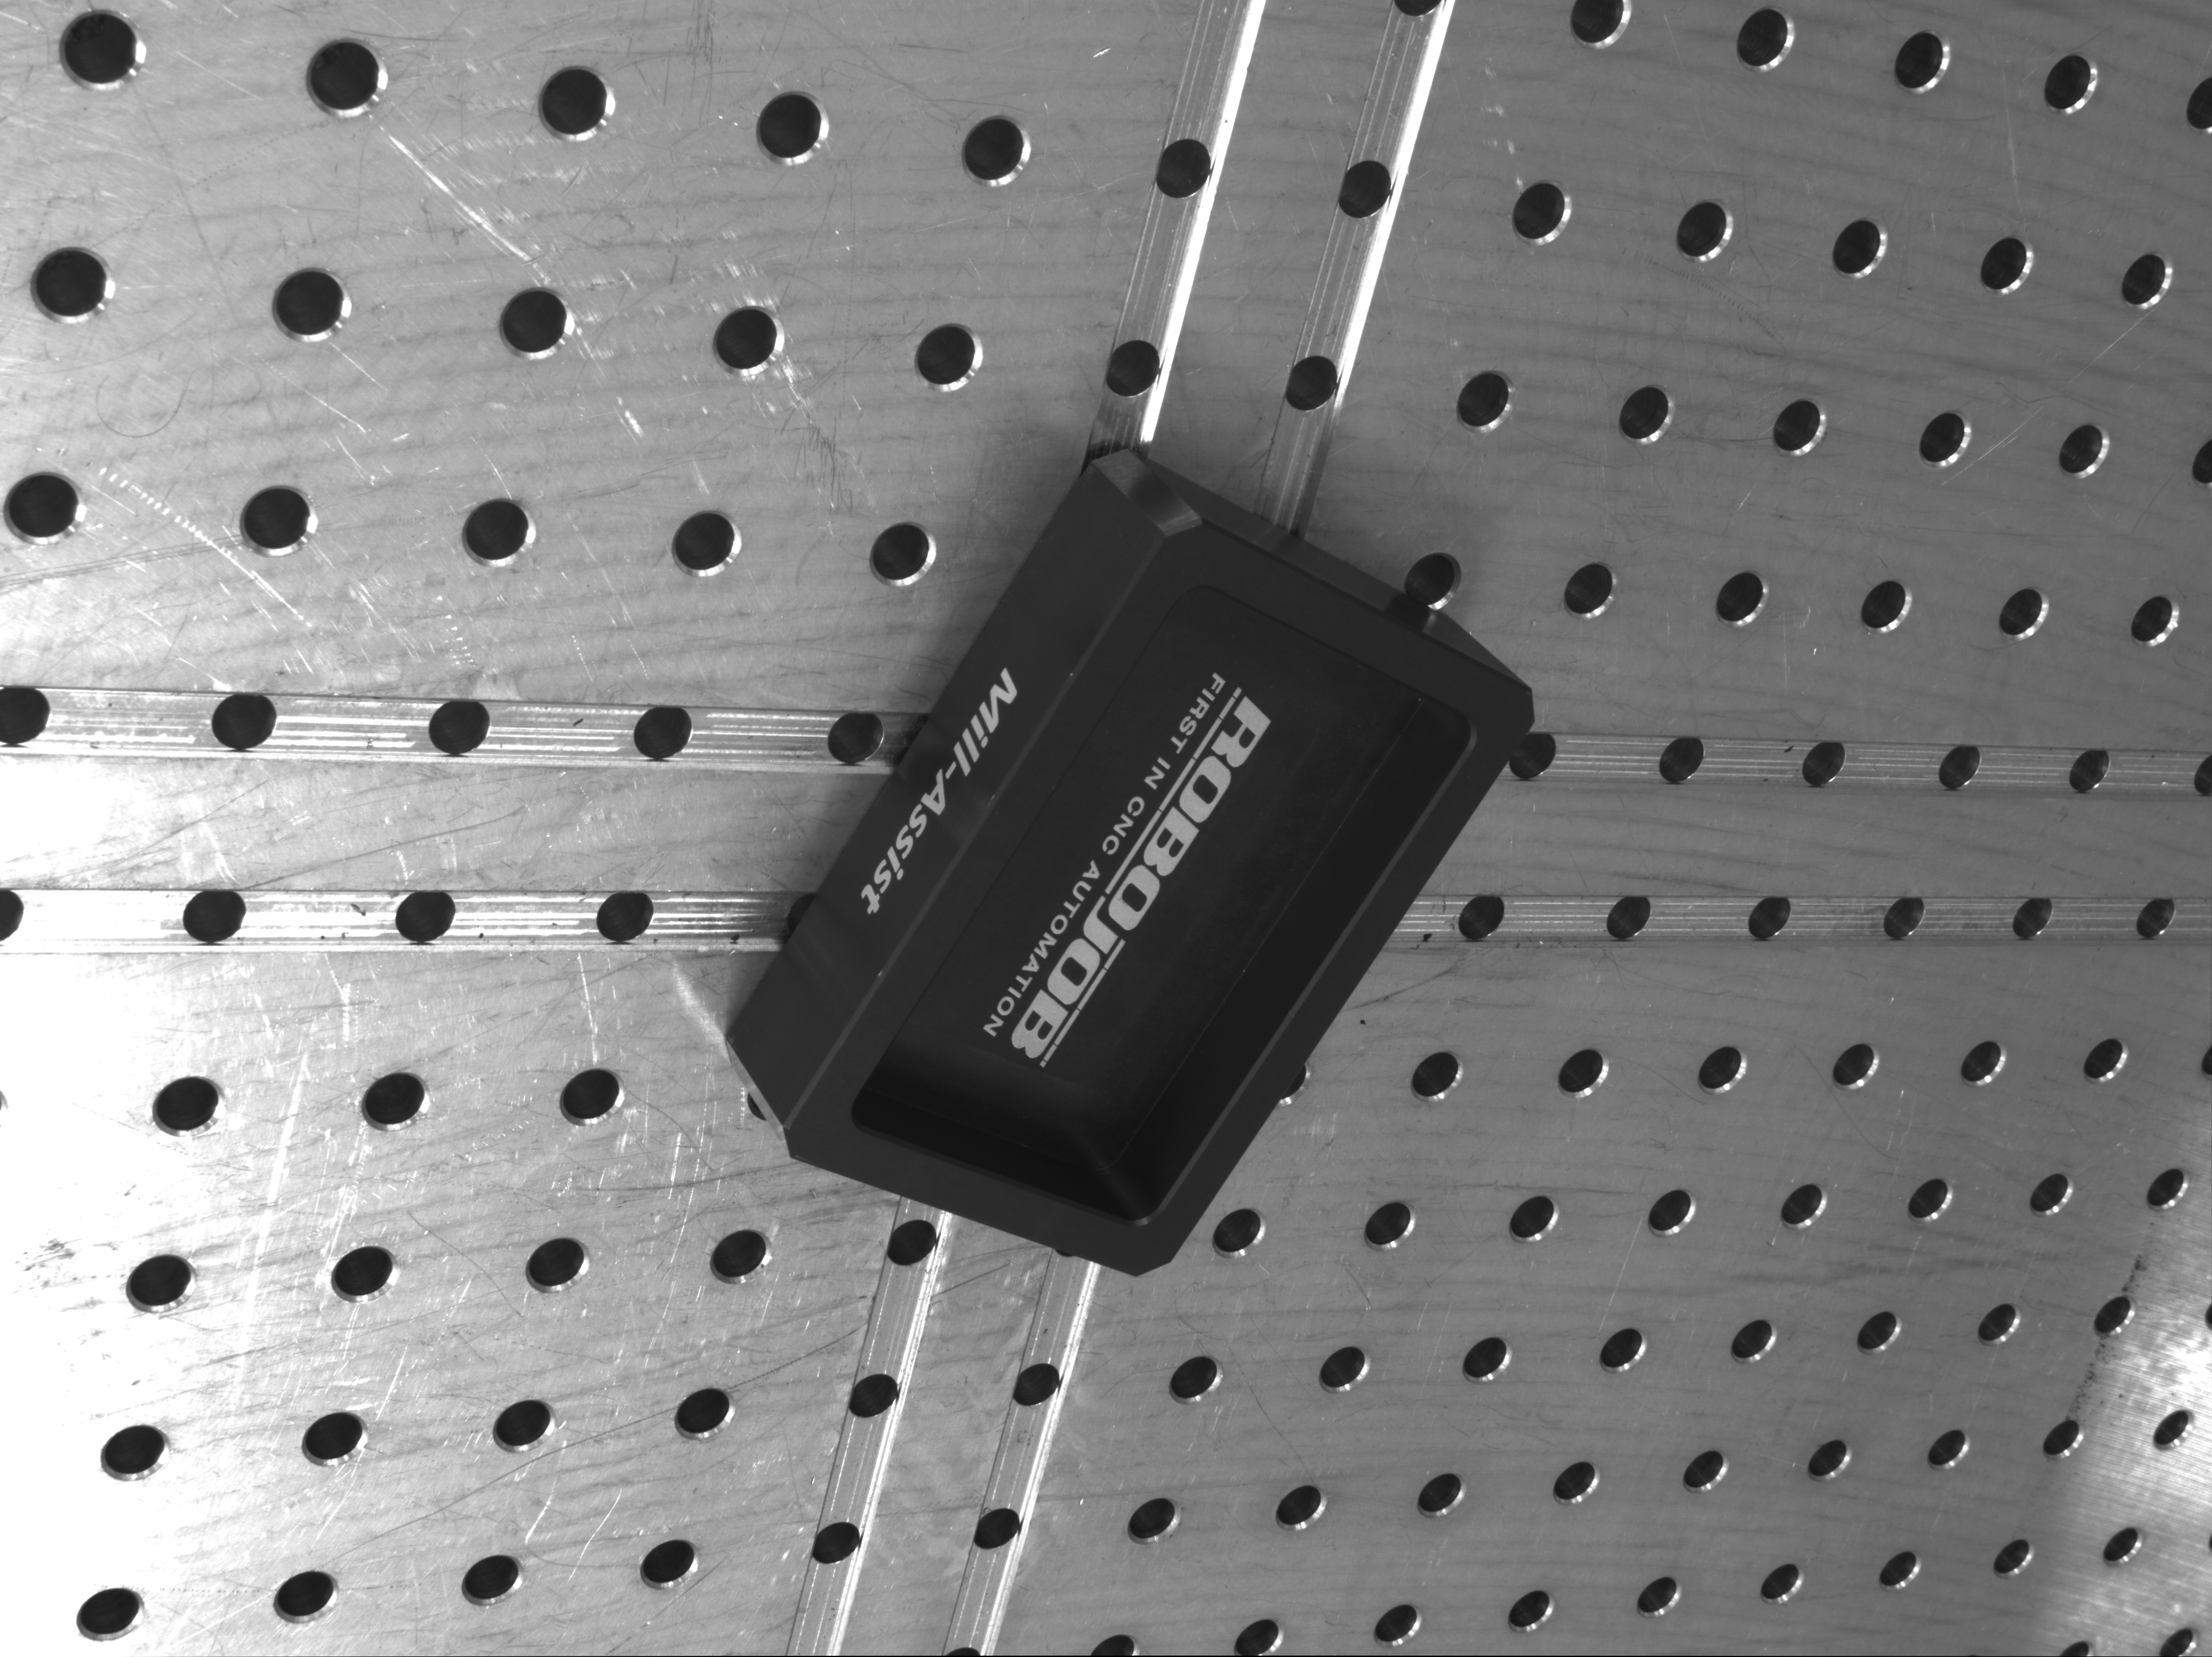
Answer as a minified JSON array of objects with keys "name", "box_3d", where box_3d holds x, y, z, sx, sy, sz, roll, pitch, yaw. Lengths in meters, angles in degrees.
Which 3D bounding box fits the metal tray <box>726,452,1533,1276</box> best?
[{"name":"metal tray","box_3d":[0.005,0.009,0.645,0.090,0.030,0.130,23,106,-37]}]
